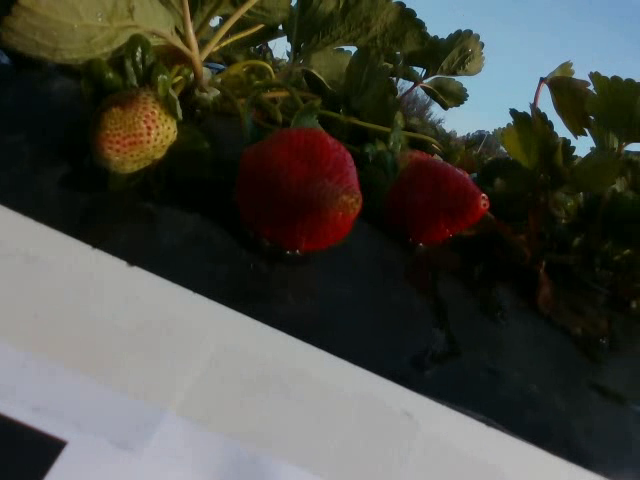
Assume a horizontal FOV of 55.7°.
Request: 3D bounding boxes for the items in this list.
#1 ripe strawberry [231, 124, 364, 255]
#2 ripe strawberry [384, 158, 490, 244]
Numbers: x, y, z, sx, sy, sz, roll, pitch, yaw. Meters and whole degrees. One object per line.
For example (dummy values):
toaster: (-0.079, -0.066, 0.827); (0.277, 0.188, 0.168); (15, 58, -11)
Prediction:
ripe strawberry: (-0.003, -0.020, 0.210); (0.050, 0.049, 0.065); (-12, 10, -21)
ripe strawberry: (0.054, -0.016, 0.274); (0.045, 0.041, 0.055); (-36, 25, -30)
